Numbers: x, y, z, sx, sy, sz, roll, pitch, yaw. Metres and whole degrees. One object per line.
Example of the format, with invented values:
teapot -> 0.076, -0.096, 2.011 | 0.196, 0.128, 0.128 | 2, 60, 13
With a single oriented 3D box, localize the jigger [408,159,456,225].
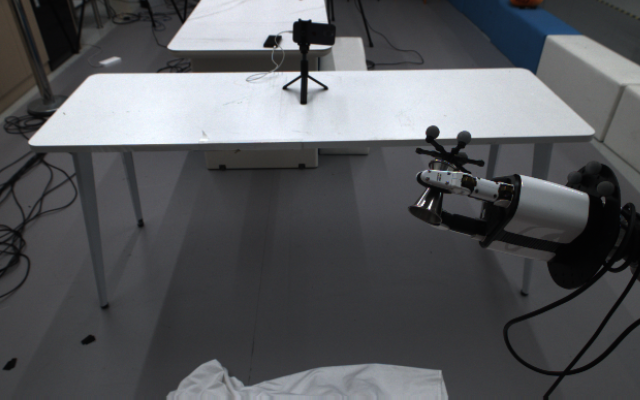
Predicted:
jigger -> 0.140, -0.015, 0.597 | 0.043, 0.043, 0.071 | 20, 72, 24
